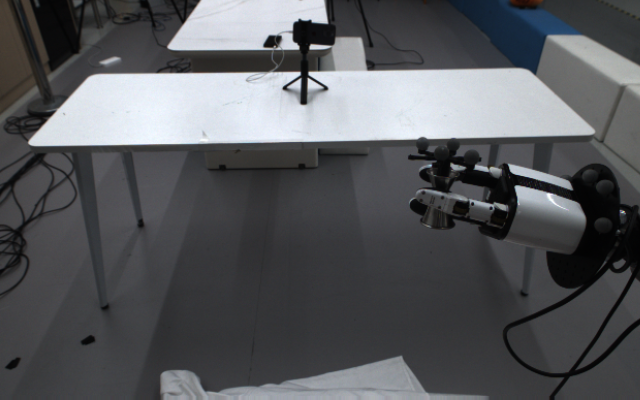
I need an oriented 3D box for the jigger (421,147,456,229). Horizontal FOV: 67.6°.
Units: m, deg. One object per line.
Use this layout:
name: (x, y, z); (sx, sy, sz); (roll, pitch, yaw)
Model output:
jigger: (0.150, -0.005, 0.611); (0.043, 0.071, 0.043); (1, 20, 0)
